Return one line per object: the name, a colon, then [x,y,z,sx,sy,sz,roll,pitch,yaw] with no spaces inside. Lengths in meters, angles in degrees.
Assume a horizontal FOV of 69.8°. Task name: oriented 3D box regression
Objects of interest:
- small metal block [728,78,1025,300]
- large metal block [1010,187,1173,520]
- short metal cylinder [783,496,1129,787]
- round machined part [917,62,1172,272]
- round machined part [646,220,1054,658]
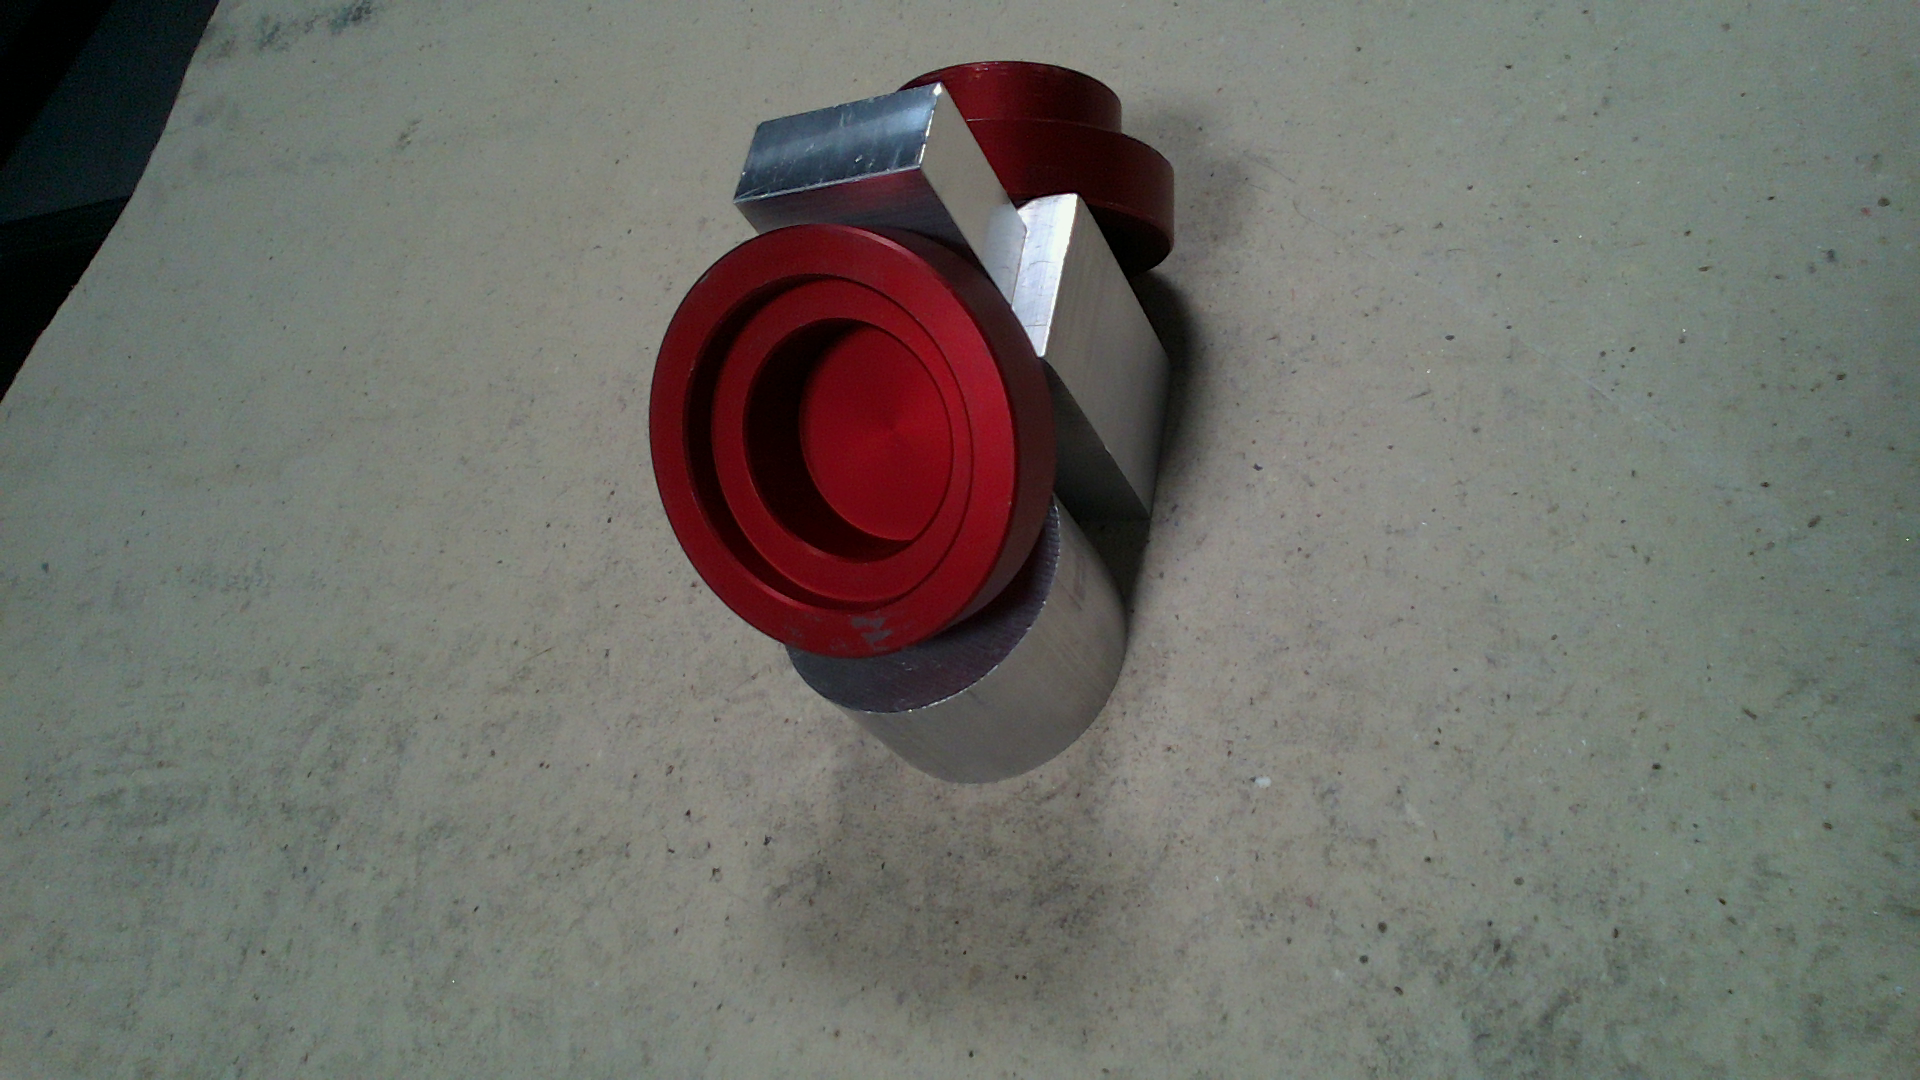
small metal block: [-0.019,-0.079,0.332,0.050,0.050,0.025,-3,60,27]
large metal block: [0.006,-0.046,0.383,0.080,0.080,0.050,-2,61,27]
short metal cylinder: [-0.001,0.019,0.368,0.080,0.050,0.080,-14,56,21]
round machined part: [0.012,-0.105,0.400,0.098,0.098,0.042,-2,85,27]
round machined part: [-0.022,-0.025,0.325,0.098,0.042,0.098,6,103,26]
